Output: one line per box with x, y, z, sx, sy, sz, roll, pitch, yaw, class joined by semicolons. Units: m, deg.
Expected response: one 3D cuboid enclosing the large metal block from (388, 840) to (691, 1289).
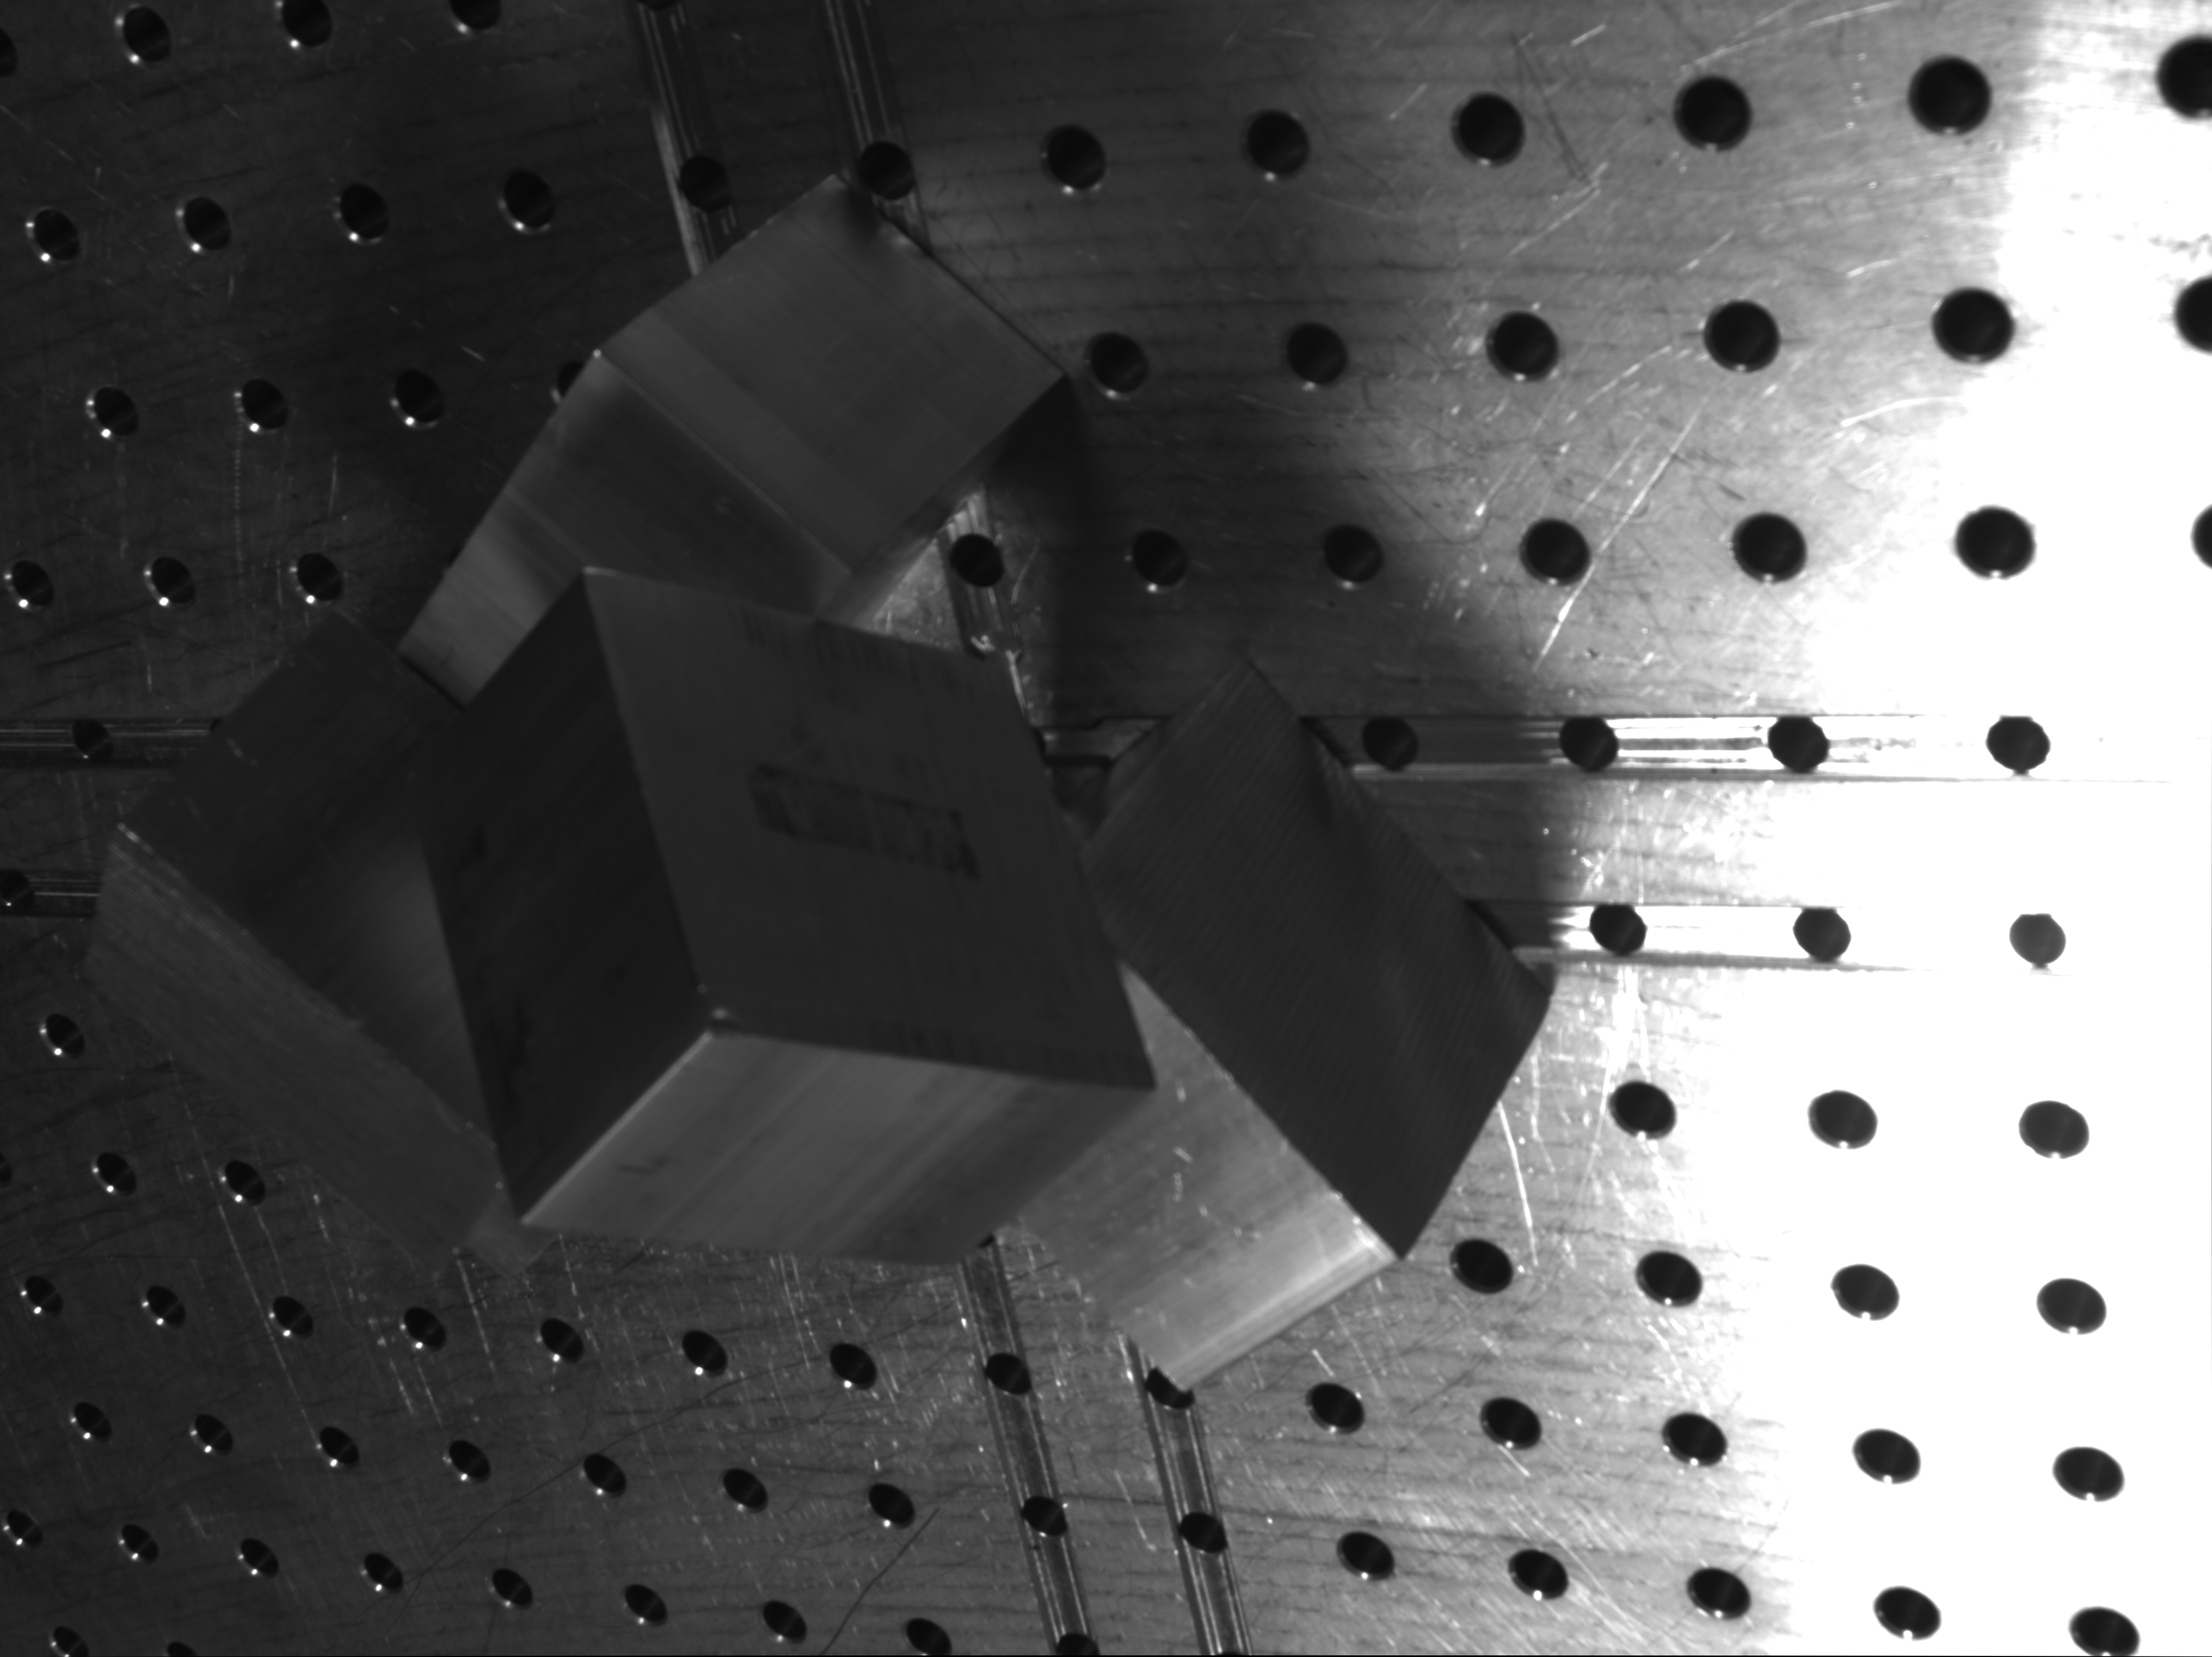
-0.101;0.025;0.683;0.080;0.050;0.080;43;128;-2;large metal block

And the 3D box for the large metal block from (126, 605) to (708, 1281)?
-0.111;0.021;0.603;0.080;0.050;0.080;41;154;-1;large metal block

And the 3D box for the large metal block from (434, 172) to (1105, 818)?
-0.056;-0.049;0.596;0.050;0.080;0.080;41;128;-1;large metal block

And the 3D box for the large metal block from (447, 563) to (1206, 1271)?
-0.042;0.015;0.539;0.050;0.080;0.080;-45;51;34;large metal block

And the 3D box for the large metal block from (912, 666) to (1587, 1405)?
0.024;0.033;0.605;0.080;0.080;0.050;47;128;-6;large metal block
